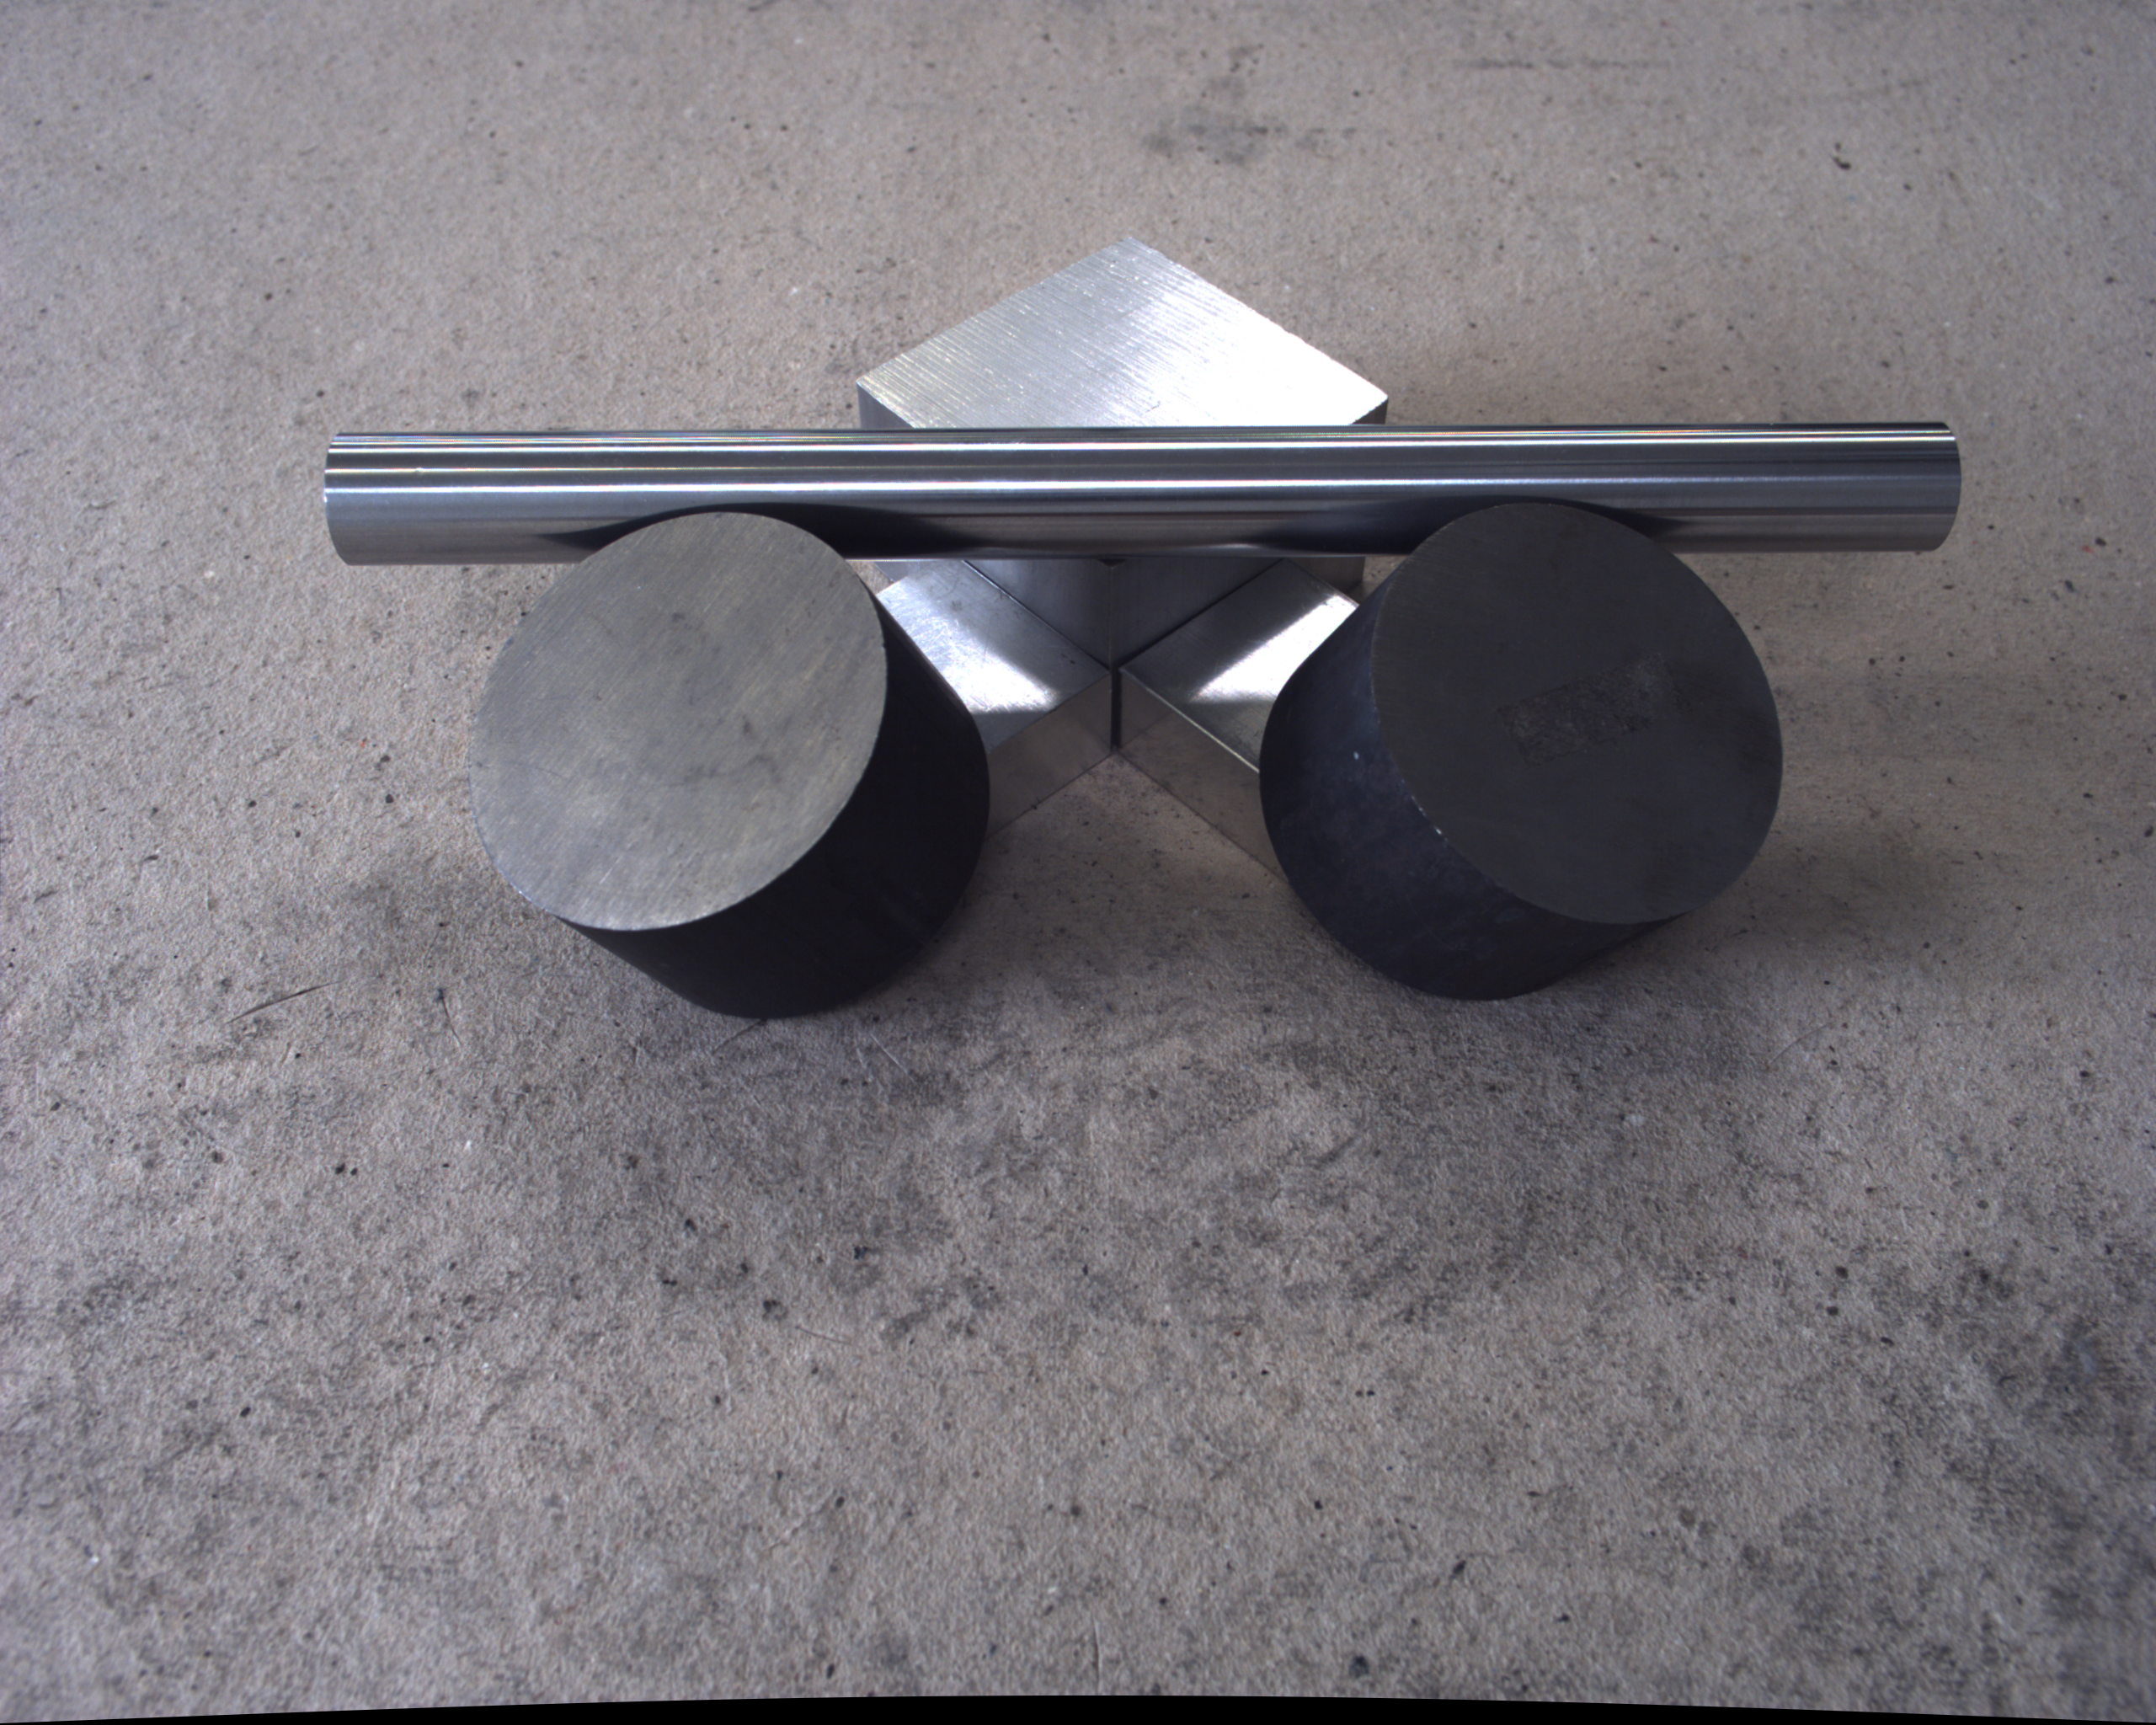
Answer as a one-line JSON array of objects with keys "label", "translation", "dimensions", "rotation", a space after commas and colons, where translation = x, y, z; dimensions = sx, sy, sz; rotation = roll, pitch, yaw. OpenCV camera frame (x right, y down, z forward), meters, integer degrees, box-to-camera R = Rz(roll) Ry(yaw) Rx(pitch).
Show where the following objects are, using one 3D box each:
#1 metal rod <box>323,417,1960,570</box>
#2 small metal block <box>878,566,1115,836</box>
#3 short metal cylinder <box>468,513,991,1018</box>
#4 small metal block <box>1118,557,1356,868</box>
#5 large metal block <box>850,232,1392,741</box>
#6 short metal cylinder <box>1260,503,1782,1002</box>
[{"label": "metal rod", "translation": [0.013, -0.070, 0.397], "dimensions": [0.302, 0.025, 0.025], "rotation": [-1, 50, -1]}, {"label": "small metal block", "translation": [-0.028, -0.032, 0.431], "dimensions": [0.050, 0.025, 0.050], "rotation": [-35, 59, -27]}, {"label": "short metal cylinder", "translation": [-0.063, -0.017, 0.383], "dimensions": [0.080, 0.050, 0.080], "rotation": [-7, 66, 17]}, {"label": "small metal block", "translation": [0.044, -0.031, 0.430], "dimensions": [0.050, 0.025, 0.050], "rotation": [-36, 59, -26]}, {"label": "large metal block", "translation": [0.009, -0.084, 0.457], "dimensions": [0.080, 0.050, 0.080], "rotation": [-35, 58, -26]}, {"label": "short metal cylinder", "translation": [0.081, -0.019, 0.387], "dimensions": [0.081, 0.050, 0.080], "rotation": [7, 68, -16]}]
